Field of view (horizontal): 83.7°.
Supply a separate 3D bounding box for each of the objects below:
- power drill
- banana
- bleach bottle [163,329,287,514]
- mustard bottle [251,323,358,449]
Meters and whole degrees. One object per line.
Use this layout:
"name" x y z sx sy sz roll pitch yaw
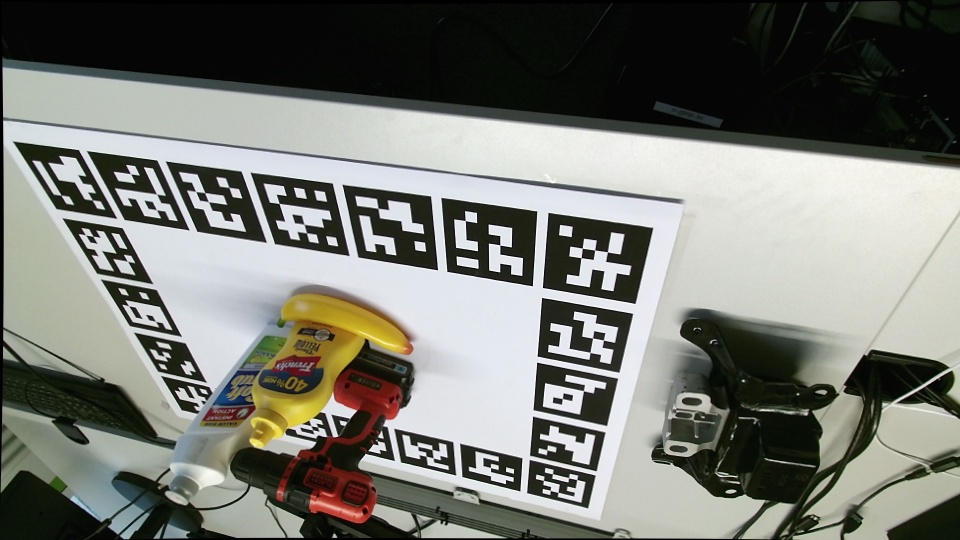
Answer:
"power drill" -0.201 0.217 0.689 0.185 0.186 0.057 19 130 6
"banana" -0.194 0.073 0.714 0.198 0.039 0.074 11 127 7
"bleach bottle" -0.310 0.193 0.701 0.103 0.250 0.068 11 134 10
"mustard bottle" -0.236 0.143 0.670 0.096 0.191 0.058 9 128 13
